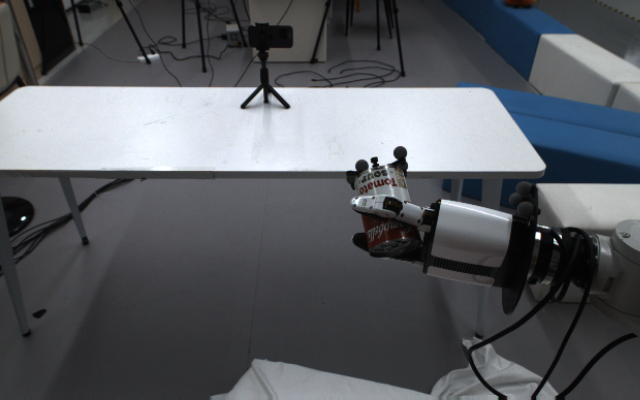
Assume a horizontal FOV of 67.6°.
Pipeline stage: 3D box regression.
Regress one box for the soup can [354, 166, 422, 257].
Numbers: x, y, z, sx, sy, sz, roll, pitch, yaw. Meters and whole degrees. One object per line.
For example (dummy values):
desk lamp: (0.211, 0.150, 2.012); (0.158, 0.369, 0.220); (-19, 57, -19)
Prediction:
soup can: (0.087, 0.015, 0.620); (0.067, 0.067, 0.101); (-6, 67, -12)
